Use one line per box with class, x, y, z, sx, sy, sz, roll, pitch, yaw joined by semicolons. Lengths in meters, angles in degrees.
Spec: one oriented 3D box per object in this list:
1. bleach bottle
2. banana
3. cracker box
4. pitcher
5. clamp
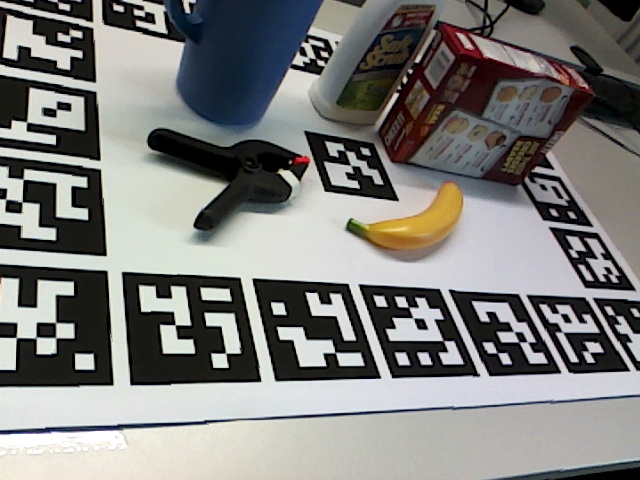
bleach bottle;0.071;-0.251;0.755;0.102;0.251;0.068;4;46;-28
banana;0.117;-0.026;0.728;0.074;0.039;0.196;42;41;14
cracker box;0.215;-0.166;0.799;0.212;0.164;0.072;5;44;-26
pitcher;-0.074;-0.245;0.630;0.187;0.243;0.134;-12;55;-42
clamp;-0.078;-0.064;0.635;0.164;0.036;0.122;-10;53;-40
